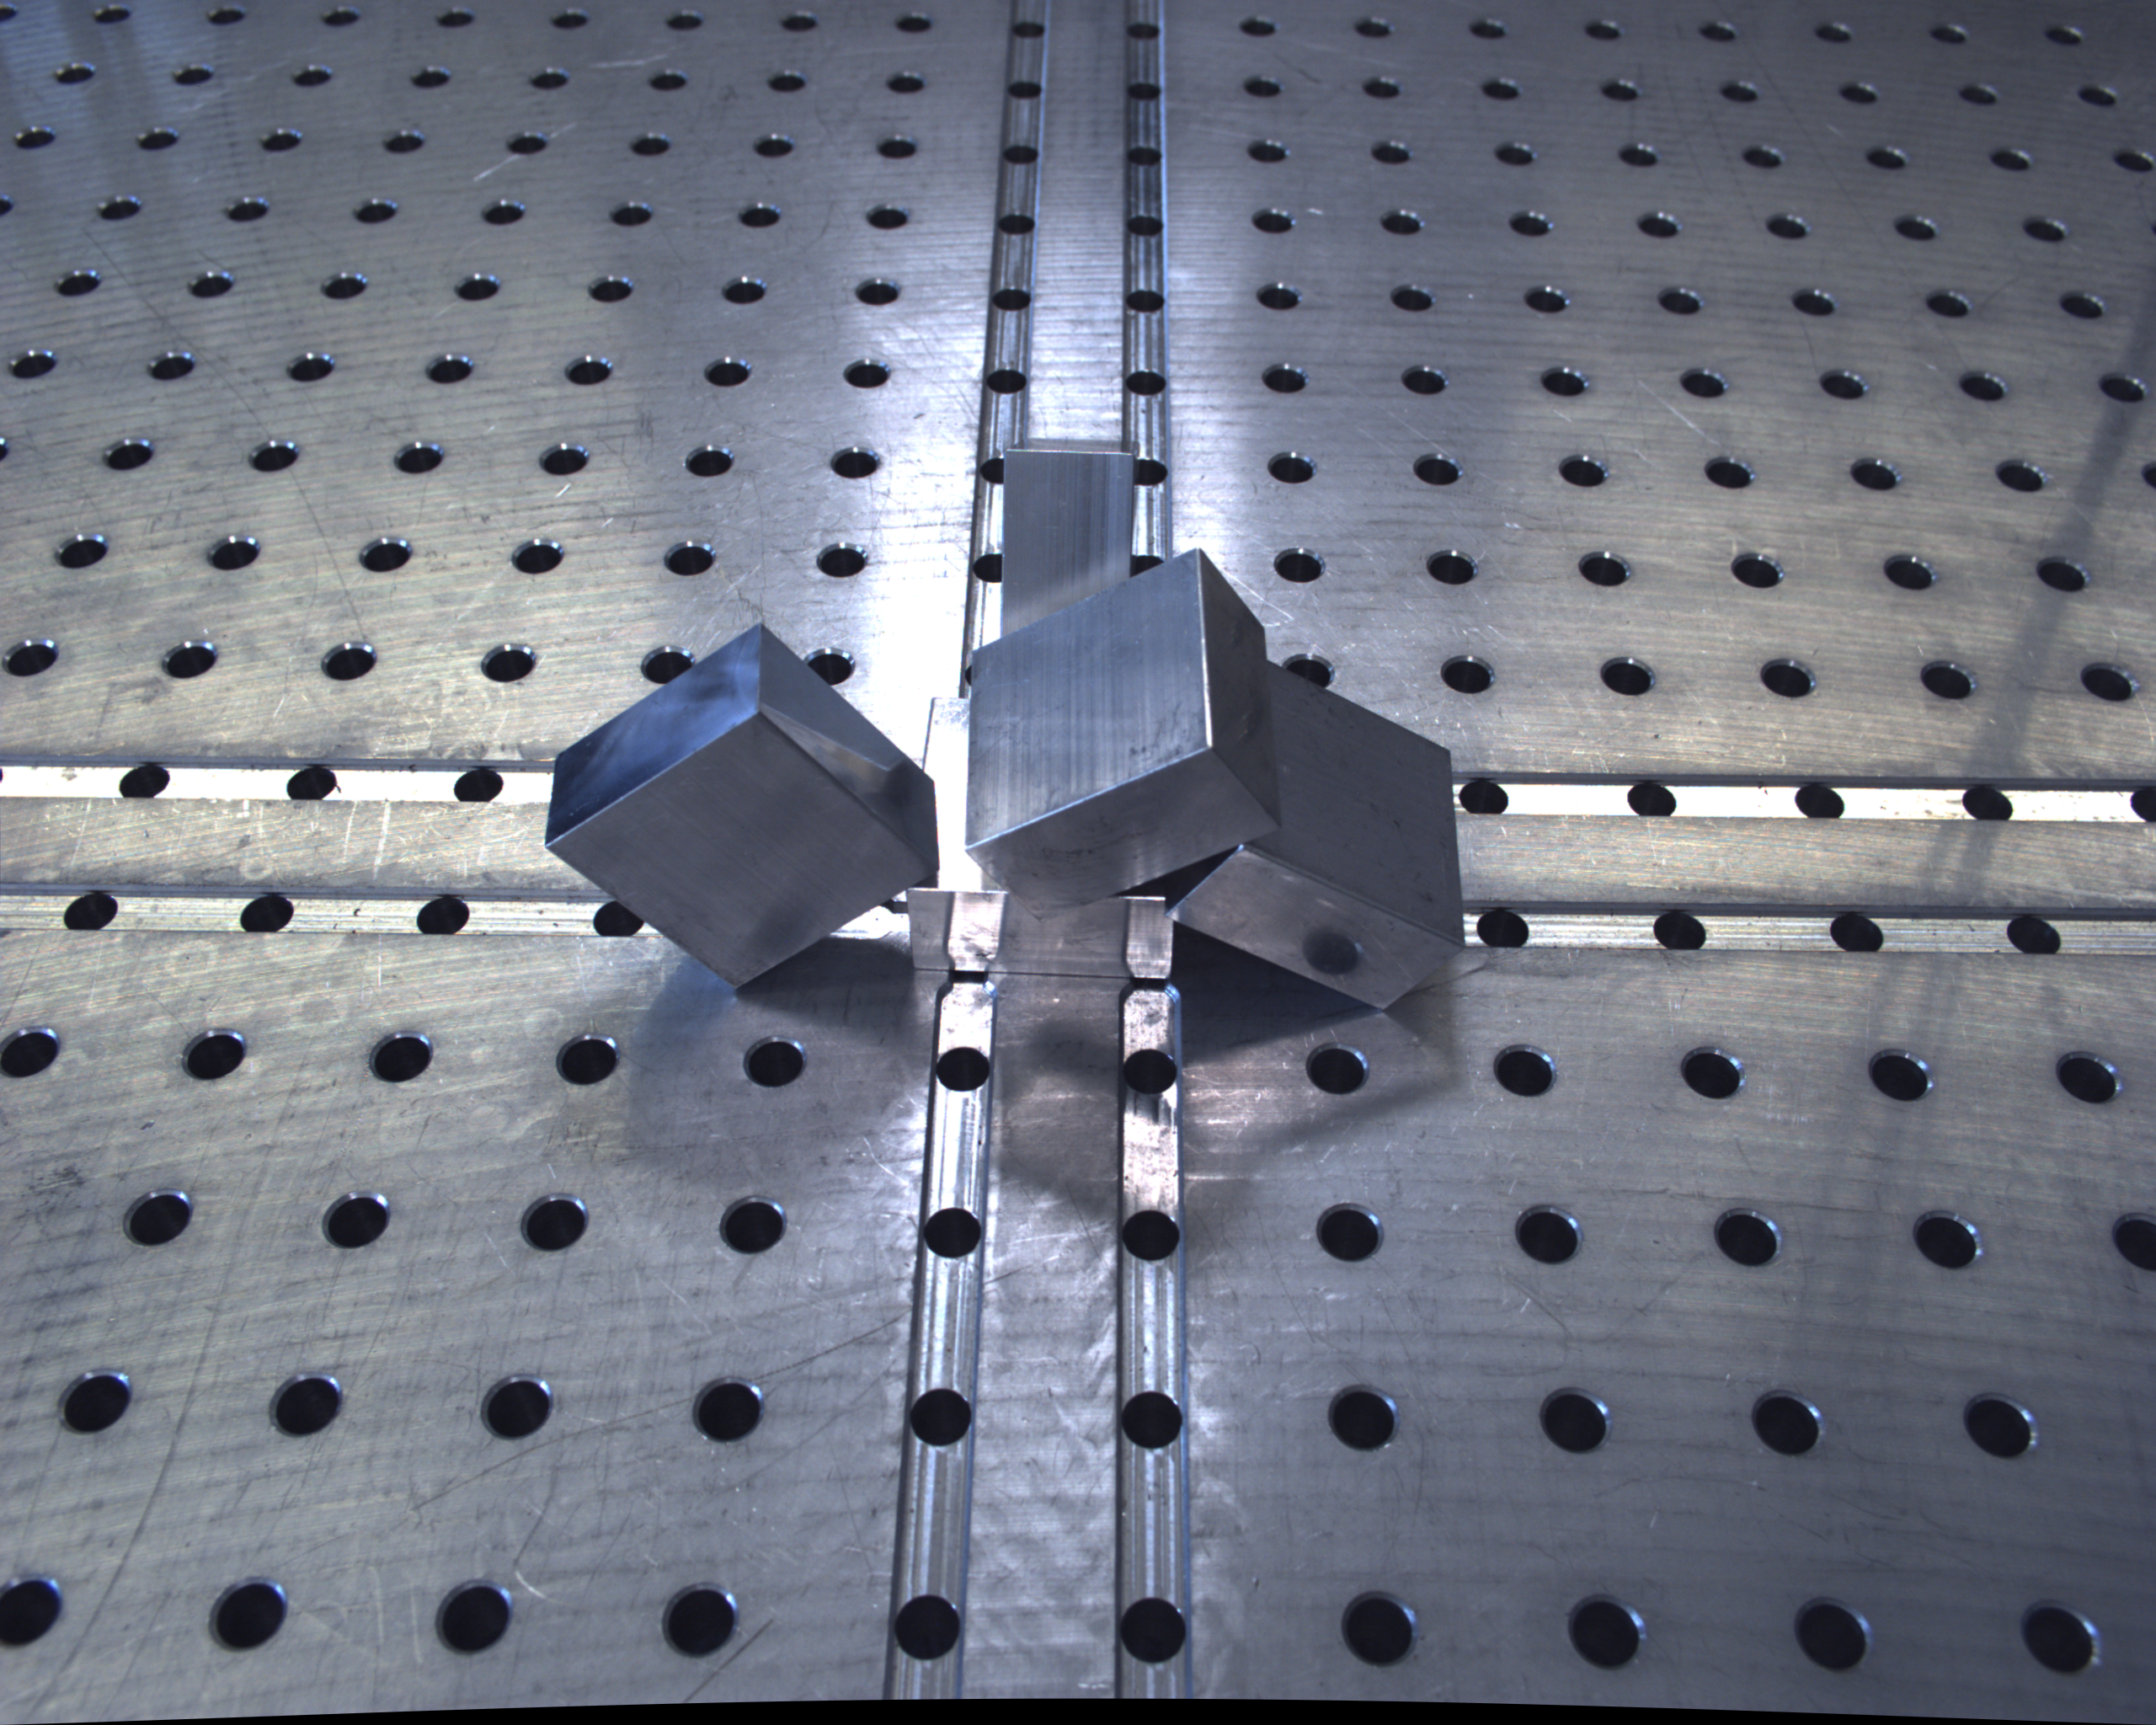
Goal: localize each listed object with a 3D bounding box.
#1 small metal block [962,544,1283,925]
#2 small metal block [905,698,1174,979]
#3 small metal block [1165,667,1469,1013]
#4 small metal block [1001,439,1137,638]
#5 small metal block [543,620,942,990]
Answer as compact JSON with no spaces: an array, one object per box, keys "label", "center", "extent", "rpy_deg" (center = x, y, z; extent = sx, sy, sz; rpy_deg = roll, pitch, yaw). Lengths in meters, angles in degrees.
[{"label":"small metal block","center":[0.007,-0.023,0.380],"extent":[0.050,0.025,0.050],"rpy_deg":[-23,45,24]},{"label":"small metal block","center":[-0.006,-0.005,0.413],"extent":[0.050,0.025,0.050],"rpy_deg":[2,50,2]},{"label":"small metal block","center":[0.045,-0.006,0.399],"extent":[0.050,0.025,0.050],"rpy_deg":[23,46,-21]},{"label":"small metal block","center":[-0.001,-0.061,0.429],"extent":[0.025,0.050,0.050],"rpy_deg":[2,14,2]},{"label":"small metal block","center":[-0.061,-0.009,0.386],"extent":[0.050,0.050,0.025],"rpy_deg":[-30,41,21]}]
